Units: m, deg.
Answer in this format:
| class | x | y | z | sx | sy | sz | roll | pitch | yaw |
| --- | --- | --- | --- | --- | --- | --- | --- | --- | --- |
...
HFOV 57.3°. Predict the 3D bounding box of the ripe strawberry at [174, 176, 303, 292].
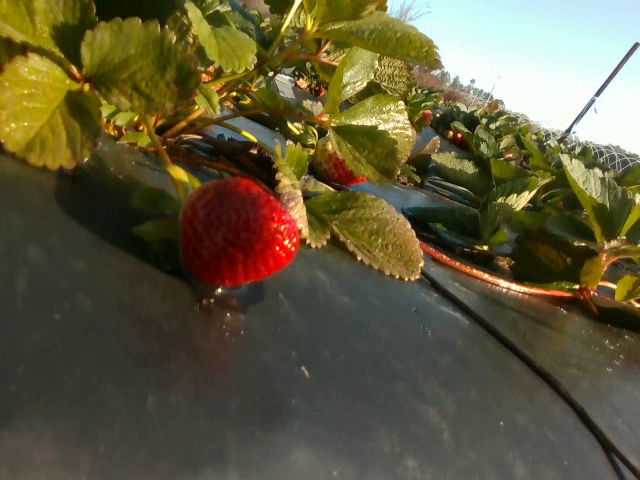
| class | x | y | z | sx | sy | sz | roll | pitch | yaw |
| --- | --- | --- | --- | --- | --- | --- | --- | --- | --- |
| ripe strawberry | -0.016 | -0.002 | 0.126 | 0.028 | 0.031 | 0.041 | -12 | 4 | -34 |
